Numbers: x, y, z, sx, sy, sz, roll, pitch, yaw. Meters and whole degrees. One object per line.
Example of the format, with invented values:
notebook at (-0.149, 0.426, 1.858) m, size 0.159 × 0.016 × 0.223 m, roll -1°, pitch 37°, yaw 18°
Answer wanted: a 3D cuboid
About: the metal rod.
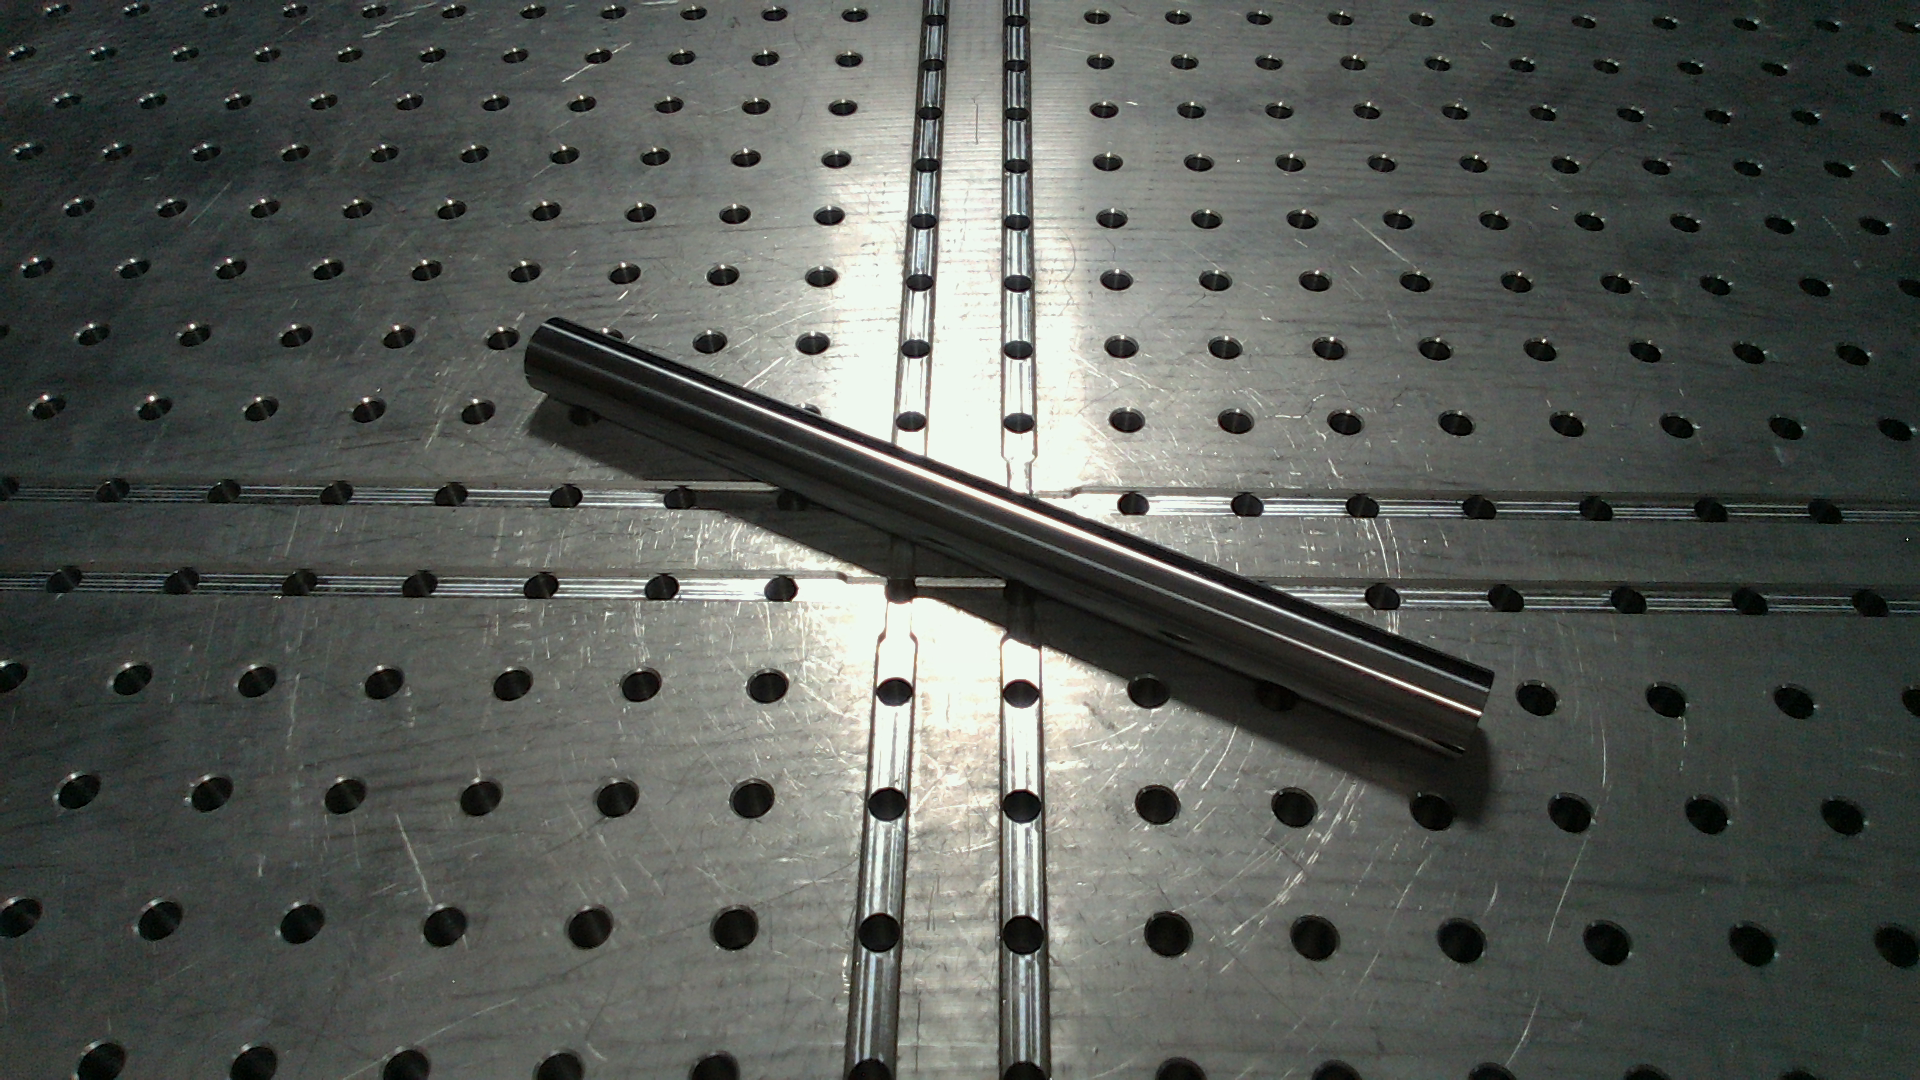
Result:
metal rod at (0.001, -0.007, 0.401) m, size 0.299 × 0.025 × 0.025 m, roll 21°, pitch 53°, yaw 17°
